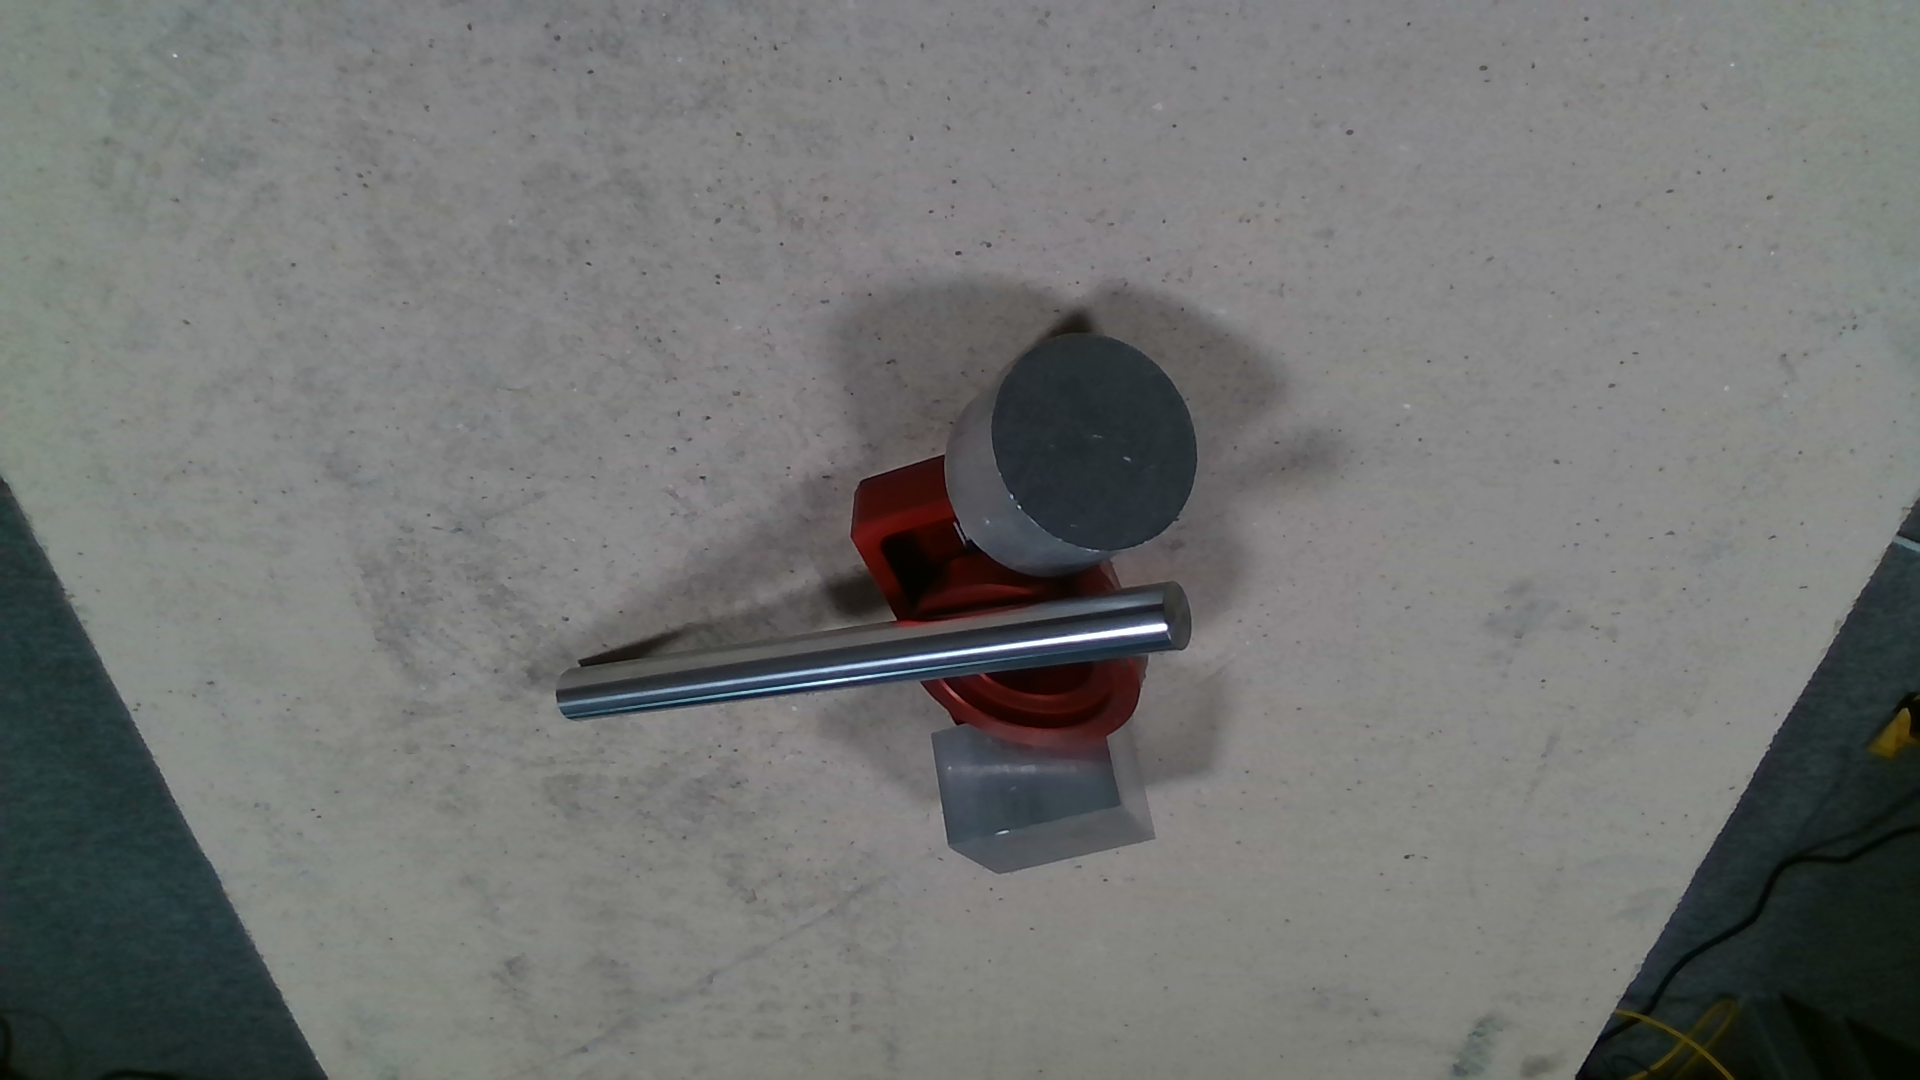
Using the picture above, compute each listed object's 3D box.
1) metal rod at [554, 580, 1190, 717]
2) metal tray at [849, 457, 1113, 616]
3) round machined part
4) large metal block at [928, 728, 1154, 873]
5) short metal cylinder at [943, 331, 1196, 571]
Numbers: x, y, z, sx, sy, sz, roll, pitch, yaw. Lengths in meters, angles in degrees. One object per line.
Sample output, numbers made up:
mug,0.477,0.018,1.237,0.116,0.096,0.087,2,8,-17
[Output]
metal rod,-0.051,0.049,0.563,0.300,0.025,0.025,-10,131,30
metal tray,0.019,0.020,0.593,0.090,0.030,0.130,-16,128,13
round machined part,0.030,0.039,0.570,0.098,0.042,0.098,11,135,11
large metal block,0.039,0.115,0.638,0.080,0.050,0.080,-16,154,13
short metal cylinder,0.040,-0.031,0.509,0.080,0.080,0.050,19,163,-15
